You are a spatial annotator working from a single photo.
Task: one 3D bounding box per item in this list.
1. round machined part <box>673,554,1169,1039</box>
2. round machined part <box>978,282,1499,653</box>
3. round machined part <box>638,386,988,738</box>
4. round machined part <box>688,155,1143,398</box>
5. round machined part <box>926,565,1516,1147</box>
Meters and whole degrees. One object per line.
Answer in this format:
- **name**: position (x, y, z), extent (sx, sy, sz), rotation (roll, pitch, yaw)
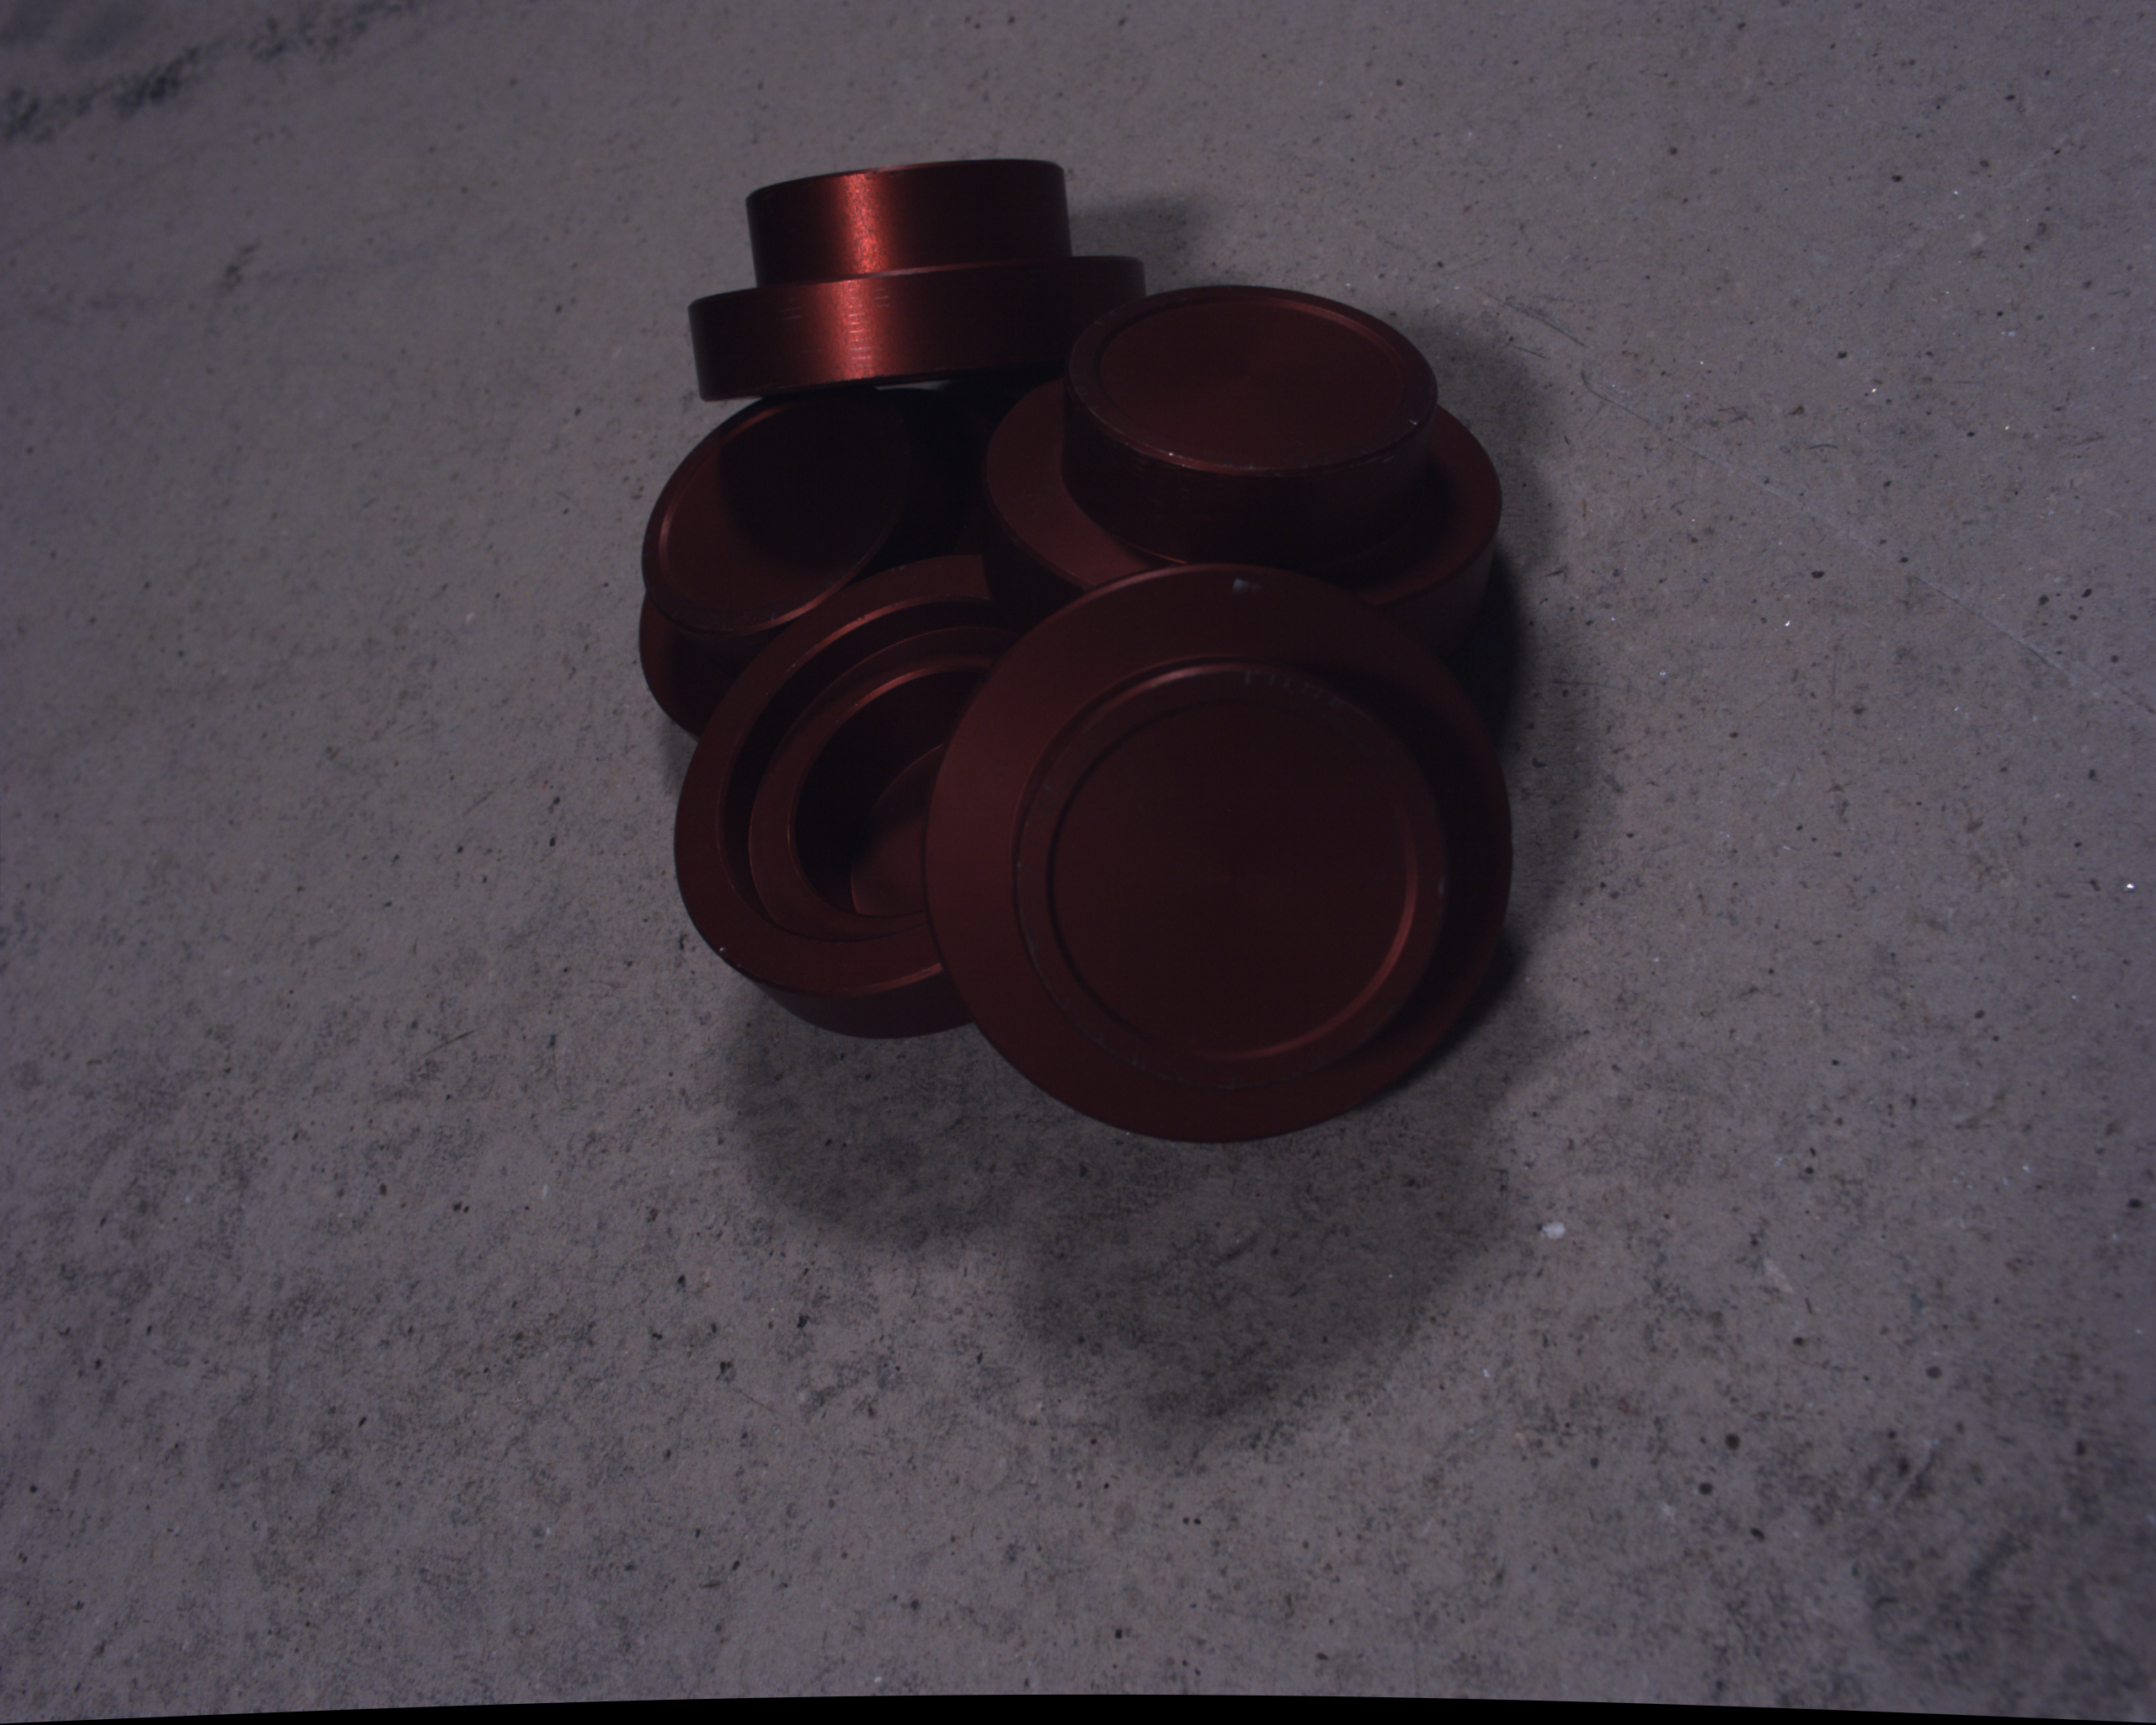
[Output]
- **round machined part**: position (-0.027, -0.009, 0.413), extent (0.098, 0.042, 0.098), rotation (-13, 56, 20)
- **round machined part**: position (0.031, -0.075, 0.395), extent (0.099, 0.042, 0.098), rotation (2, 43, -2)
- **round machined part**: position (-0.057, -0.067, 0.465), extent (0.098, 0.042, 0.098), rotation (-13, 56, 20)
- **round machined part**: position (-0.035, -0.126, 0.451), extent (0.098, 0.099, 0.042), rotation (1, 104, 28)
- **round machined part**: position (0.024, 0.001, 0.345), extent (0.098, 0.098, 0.042), rotation (-37, 10, 3)
